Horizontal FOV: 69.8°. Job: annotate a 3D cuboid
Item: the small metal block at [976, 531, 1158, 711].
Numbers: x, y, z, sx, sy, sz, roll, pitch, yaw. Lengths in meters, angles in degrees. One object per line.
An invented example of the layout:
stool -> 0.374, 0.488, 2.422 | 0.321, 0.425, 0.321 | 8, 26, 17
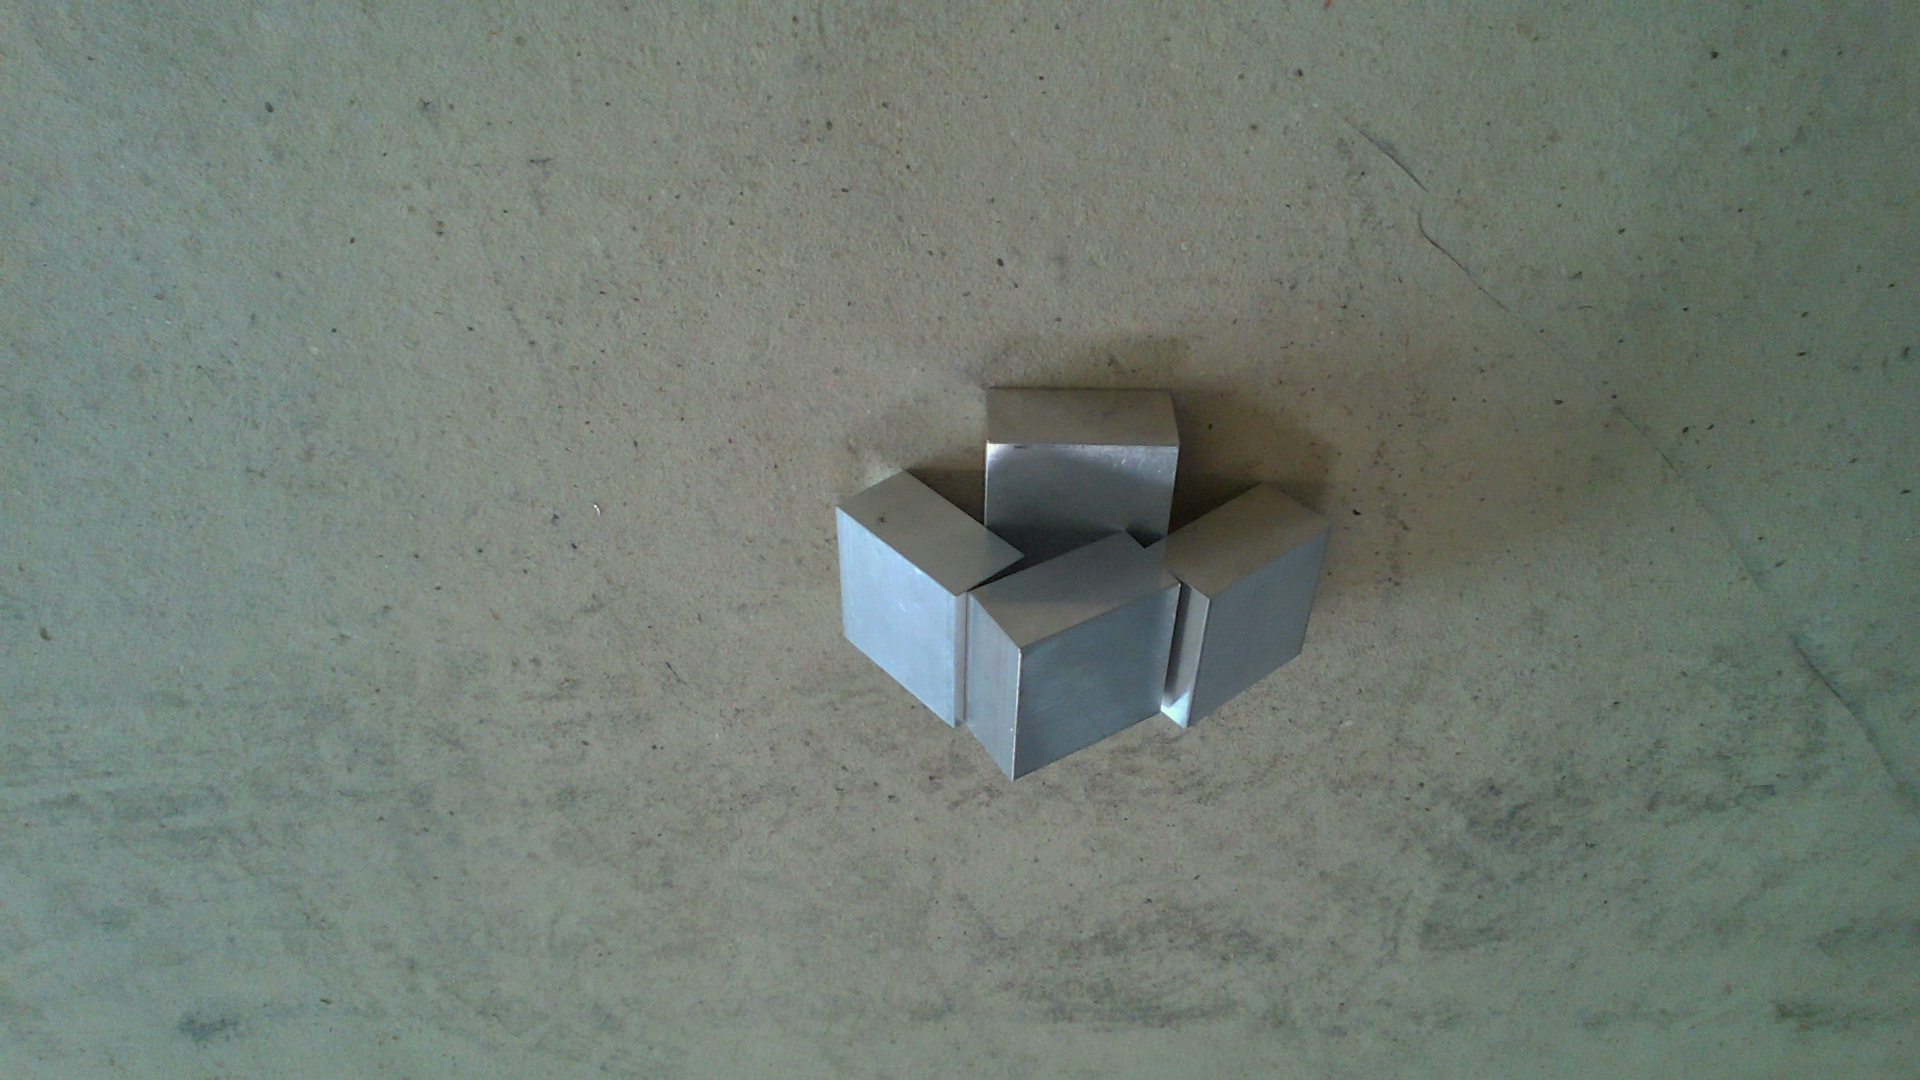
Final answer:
small metal block -> 0.030, 0.025, 0.412 | 0.050, 0.025, 0.050 | 0, 130, -1

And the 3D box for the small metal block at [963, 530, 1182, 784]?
small metal block -> 0.029, 0.031, 0.370 | 0.050, 0.025, 0.050 | -20, 135, -24

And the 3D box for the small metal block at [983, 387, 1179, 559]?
small metal block -> 0.031, -0.014, 0.379 | 0.050, 0.025, 0.050 | 0, 130, -1

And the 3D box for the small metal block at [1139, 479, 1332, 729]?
small metal block -> 0.075, 0.018, 0.390 | 0.050, 0.025, 0.050 | -28, 139, -30

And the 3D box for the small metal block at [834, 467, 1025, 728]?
small metal block -> -0.009, 0.016, 0.386 | 0.025, 0.050, 0.050 | -30, 139, -31
